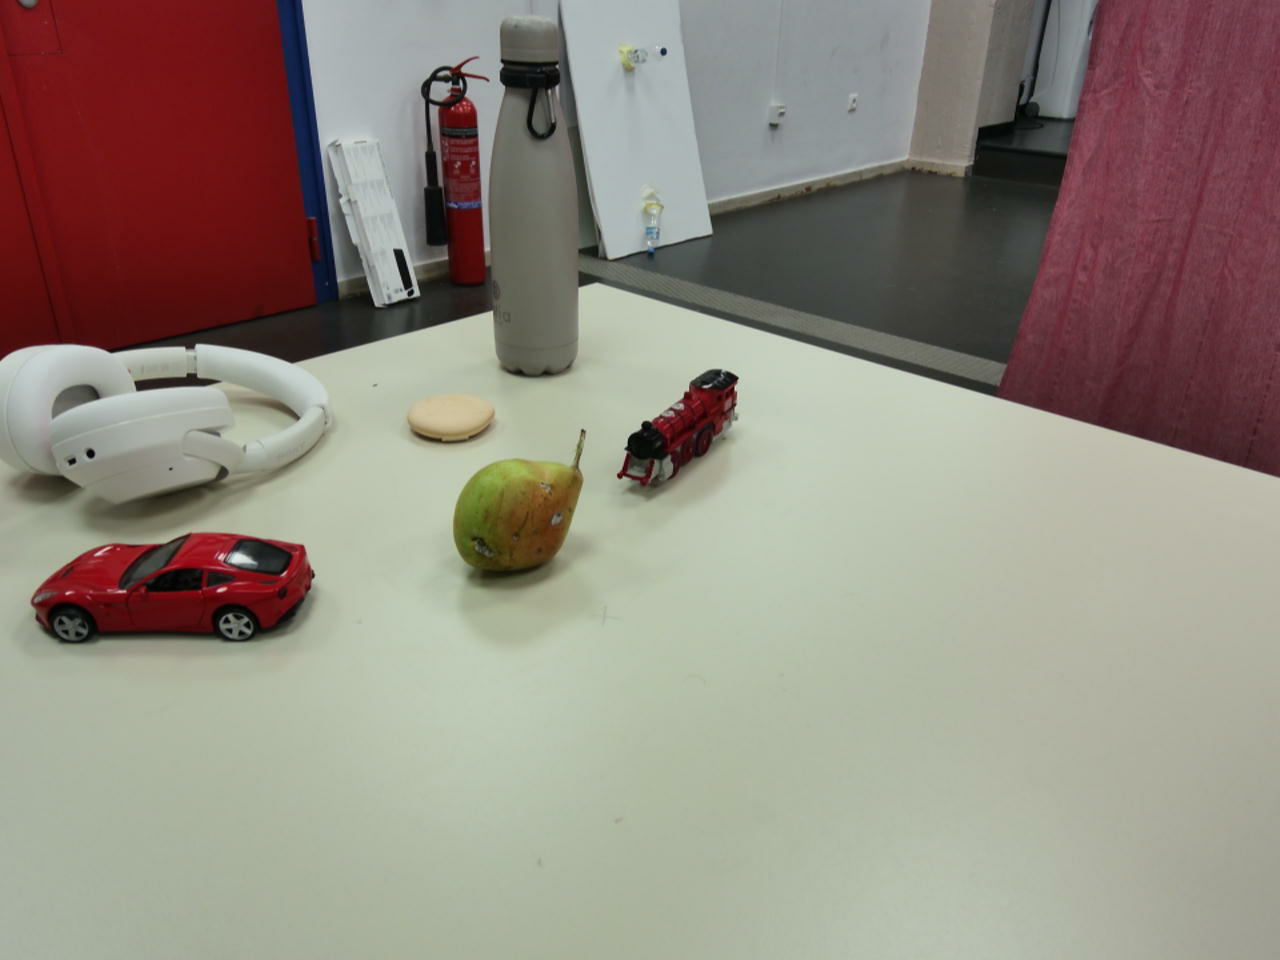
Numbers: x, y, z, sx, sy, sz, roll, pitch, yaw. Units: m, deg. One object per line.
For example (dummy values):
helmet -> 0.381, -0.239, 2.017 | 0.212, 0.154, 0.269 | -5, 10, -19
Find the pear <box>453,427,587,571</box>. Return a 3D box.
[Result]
pear -> -0.068, 0.015, 0.559 | 0.070, 0.069, 0.068 | 2, 25, 3
